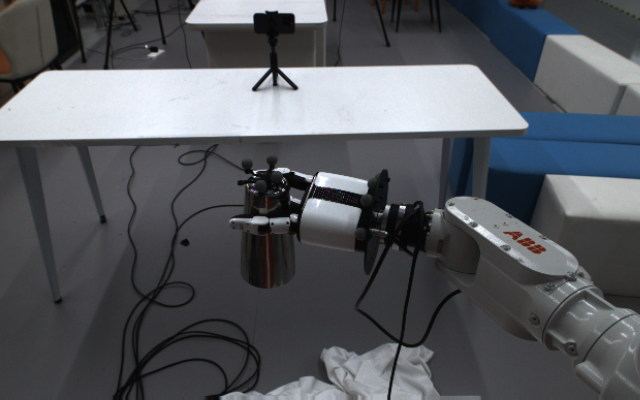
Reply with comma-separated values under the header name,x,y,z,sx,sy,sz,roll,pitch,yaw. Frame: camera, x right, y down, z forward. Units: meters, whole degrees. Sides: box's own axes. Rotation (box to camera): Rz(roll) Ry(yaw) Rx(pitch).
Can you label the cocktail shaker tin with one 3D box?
name,x,y,z,sx,sy,sz,roll,pitch,yaw
cocktail shaker tin,-0.081,0.043,0.769,0.093,0.170,0.093,2,33,-1
